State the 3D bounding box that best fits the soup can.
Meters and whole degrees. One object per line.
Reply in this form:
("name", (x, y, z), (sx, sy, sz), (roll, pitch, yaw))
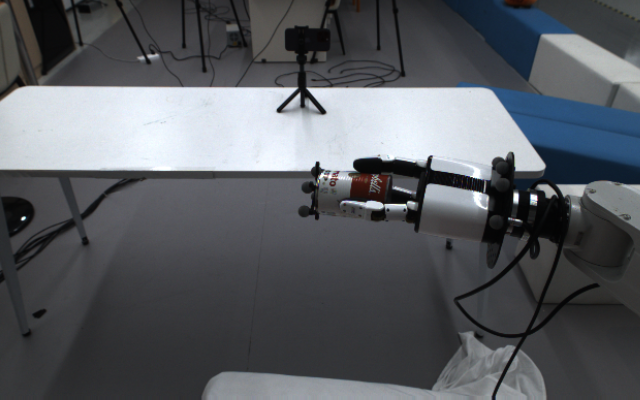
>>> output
("soup can", (0.052, -0.007, 0.699), (0.101, 0.067, 0.067), (6, 35, 13))
